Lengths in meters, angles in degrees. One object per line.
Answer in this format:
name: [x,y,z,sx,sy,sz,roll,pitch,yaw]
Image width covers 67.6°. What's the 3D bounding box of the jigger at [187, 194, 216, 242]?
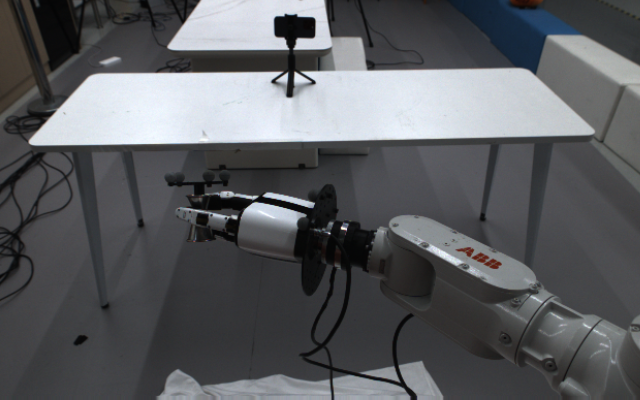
jigger: [-0.178,0.026,0.718,0.043,0.071,0.043,-2,4,0]
